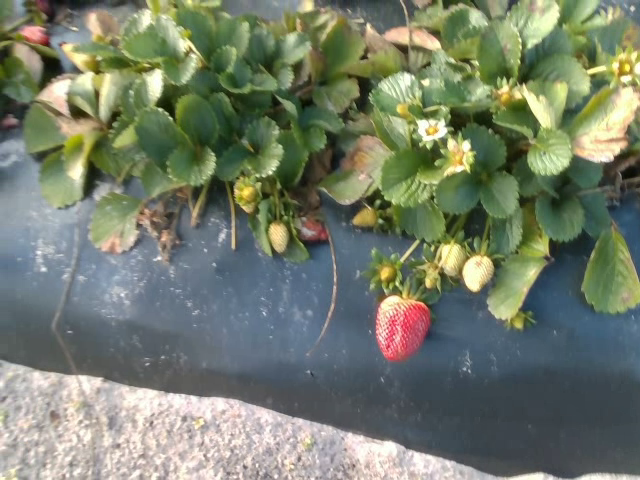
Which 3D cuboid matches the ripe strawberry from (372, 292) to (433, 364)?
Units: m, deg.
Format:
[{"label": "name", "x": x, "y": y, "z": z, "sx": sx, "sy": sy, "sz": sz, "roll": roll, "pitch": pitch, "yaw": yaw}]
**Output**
[{"label": "ripe strawberry", "x": 0.076, "y": 0.087, "z": 0.600, "sx": 0.052, "sy": 0.068, "sz": 0.045, "roll": 10, "pitch": -28, "yaw": 9}]
